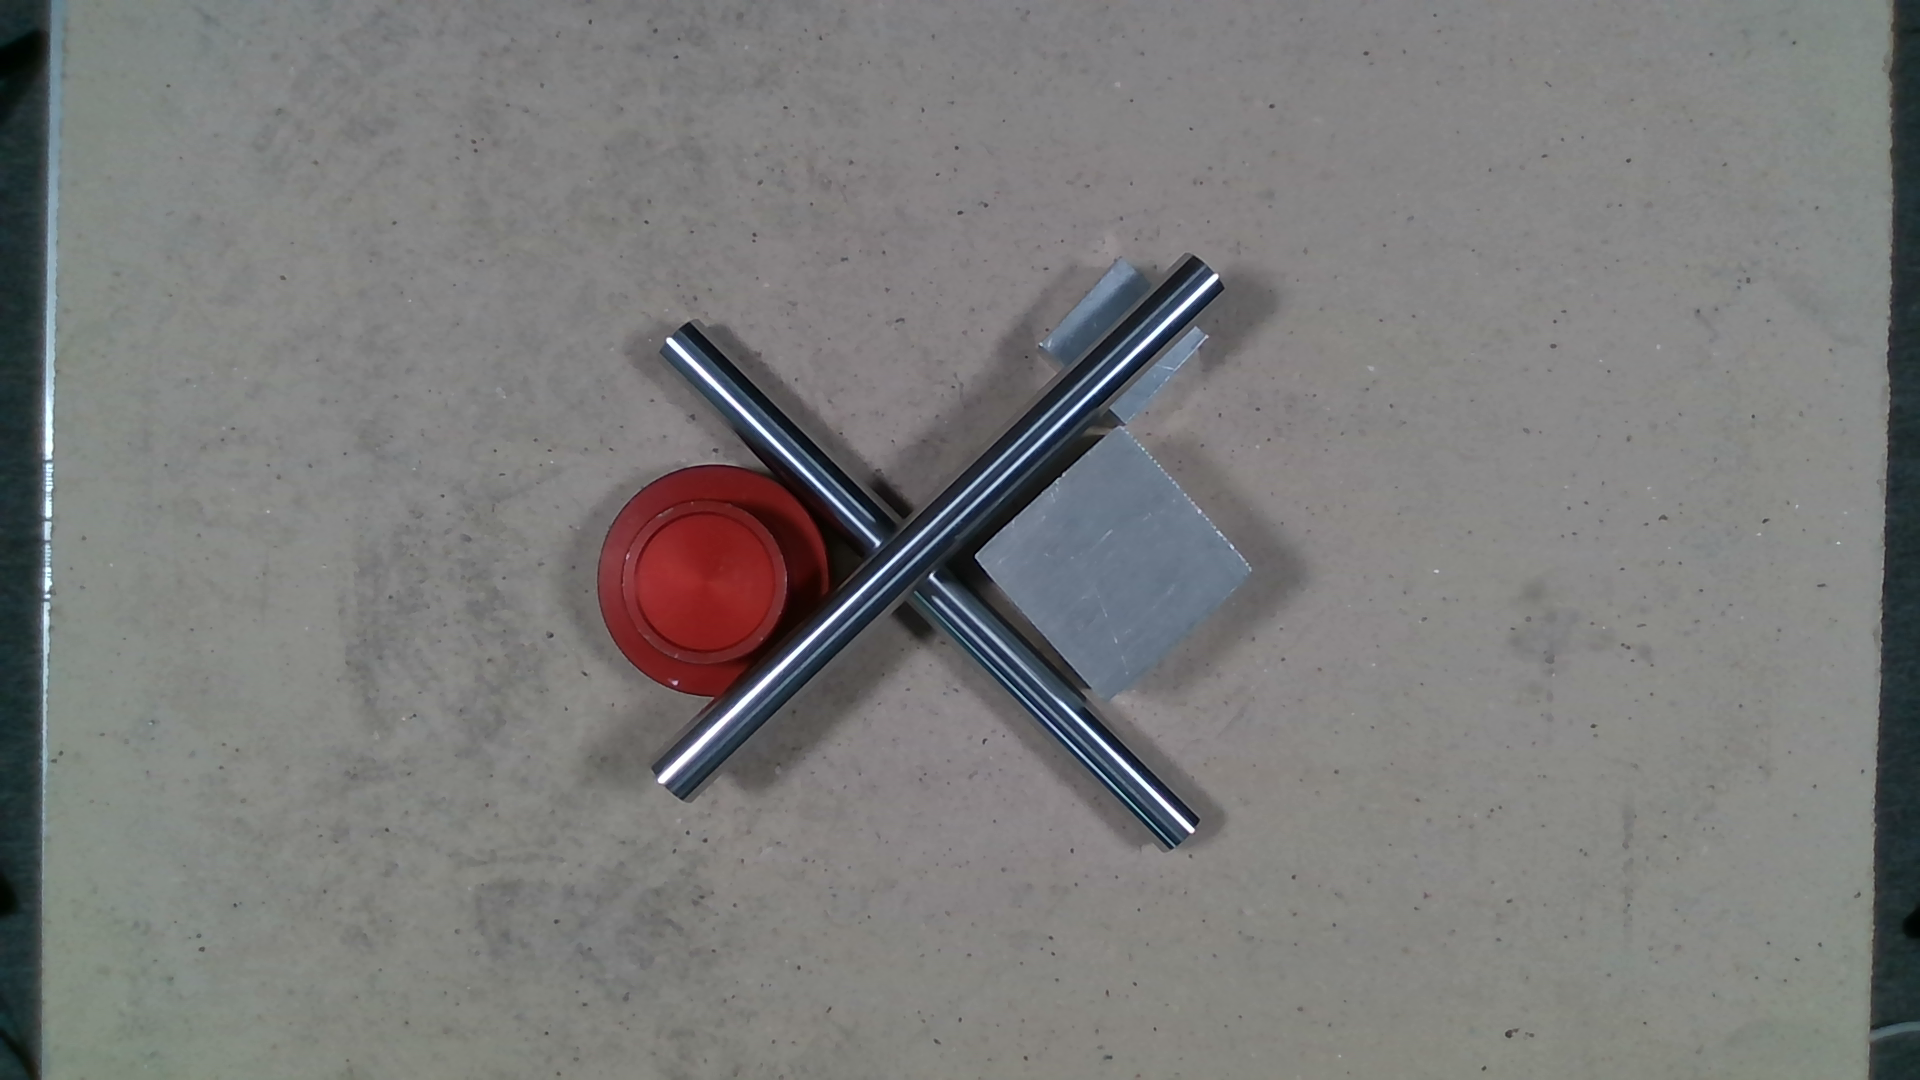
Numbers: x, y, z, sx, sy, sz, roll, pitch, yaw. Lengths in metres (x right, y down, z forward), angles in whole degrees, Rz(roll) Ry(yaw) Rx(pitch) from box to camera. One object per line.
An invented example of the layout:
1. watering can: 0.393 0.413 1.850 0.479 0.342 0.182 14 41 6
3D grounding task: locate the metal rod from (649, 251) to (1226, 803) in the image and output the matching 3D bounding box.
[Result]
1. metal rod: -0.009 -0.005 0.562 0.300 0.025 0.025 -43 90 0

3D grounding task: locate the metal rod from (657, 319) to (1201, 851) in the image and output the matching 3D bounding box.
1. metal rod: -0.013 0.019 0.589 0.300 0.025 0.025 44 90 0

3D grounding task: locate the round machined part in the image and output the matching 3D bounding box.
1. round machined part: -0.104 0.017 0.578 0.098 0.042 0.098 0 90 0

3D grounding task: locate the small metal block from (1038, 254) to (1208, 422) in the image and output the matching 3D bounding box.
1. small metal block: 0.068 -0.084 0.588 0.050 0.025 0.050 43 90 0

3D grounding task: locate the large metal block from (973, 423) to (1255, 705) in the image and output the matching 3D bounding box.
1. large metal block: 0.062 0.009 0.576 0.080 0.050 0.080 -42 90 0
